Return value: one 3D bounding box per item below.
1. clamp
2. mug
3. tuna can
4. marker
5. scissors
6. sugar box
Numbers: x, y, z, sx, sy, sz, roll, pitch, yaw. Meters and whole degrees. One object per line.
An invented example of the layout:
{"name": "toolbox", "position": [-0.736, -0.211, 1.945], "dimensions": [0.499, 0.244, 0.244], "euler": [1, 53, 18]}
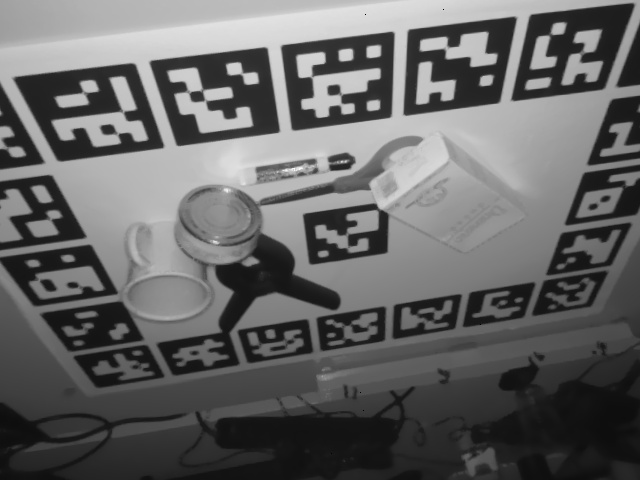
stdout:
{"name": "clamp", "position": [-0.055, 0.047, 0.848], "dimensions": [0.165, 0.037, 0.202], "euler": [-15, 137, 5]}
{"name": "mug", "position": [-0.146, 0.021, 0.754], "dimensions": [0.092, 0.082, 0.118], "euler": [-26, 139, 17]}
{"name": "tuna can", "position": [-0.090, -0.018, 0.716], "dimensions": [0.086, 0.086, 0.033], "euler": [4, 137, -16]}
{"name": "marker", "position": [0.005, -0.078, 0.719], "dimensions": [0.121, 0.020, 0.019], "euler": [-10, 137, -2]}
{"name": "scissors", "position": [0.053, -0.055, 0.752], "dimensions": [0.202, 0.016, 0.087], "euler": [-14, 142, 5]}
{"name": "sugar box", "position": [0.163, -0.042, 0.765], "dimensions": [0.091, 0.045, 0.178], "euler": [-34, 139, 24]}
